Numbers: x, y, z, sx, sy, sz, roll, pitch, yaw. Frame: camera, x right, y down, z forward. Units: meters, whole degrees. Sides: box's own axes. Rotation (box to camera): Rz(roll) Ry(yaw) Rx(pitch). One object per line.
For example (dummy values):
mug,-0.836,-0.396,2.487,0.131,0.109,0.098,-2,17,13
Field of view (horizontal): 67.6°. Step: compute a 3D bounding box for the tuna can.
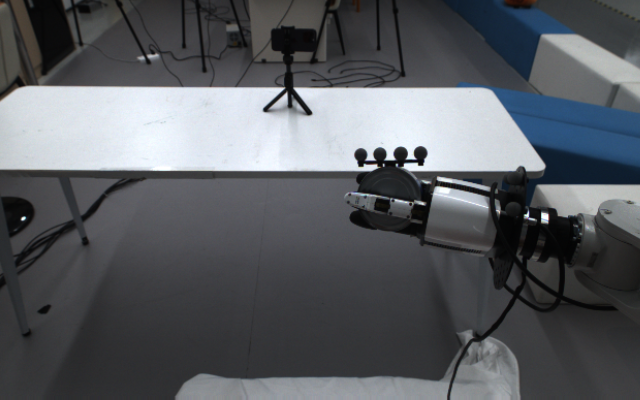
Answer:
tuna can,0.095,-0.004,0.647,0.085,0.085,0.034,15,10,18
